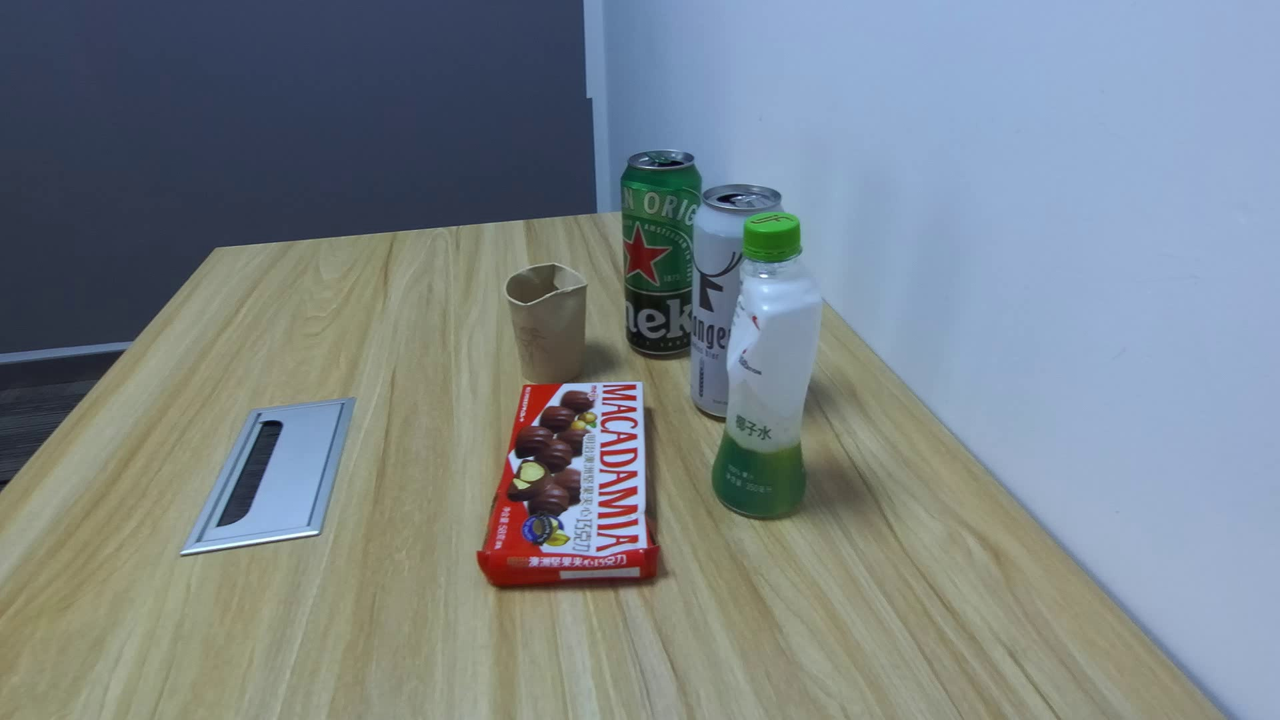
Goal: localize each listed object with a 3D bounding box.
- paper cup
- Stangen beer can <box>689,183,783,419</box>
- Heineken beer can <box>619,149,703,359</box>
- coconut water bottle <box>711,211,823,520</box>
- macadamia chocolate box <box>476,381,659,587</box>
[{"bbox_3d":[-0.078,-0.028,0.593,0.072,0.084,0.066,-17,33,-27],"label":"paper cup"},{"bbox_3d":[0.074,-0.041,0.530,0.067,0.171,0.067,-1,32,1],"label":"Stangen beer can"},{"bbox_3d":[0.020,-0.087,0.606,0.067,0.169,0.067,-1,28,1],"label":"Heineken beer can"},{"bbox_3d":[0.078,0.005,0.425,0.069,0.187,0.069,-1,32,1],"label":"coconut water bottle"},{"bbox_3d":[-0.042,0.075,0.478,0.106,0.028,0.182,-2,32,0],"label":"macadamia chocolate box"}]
